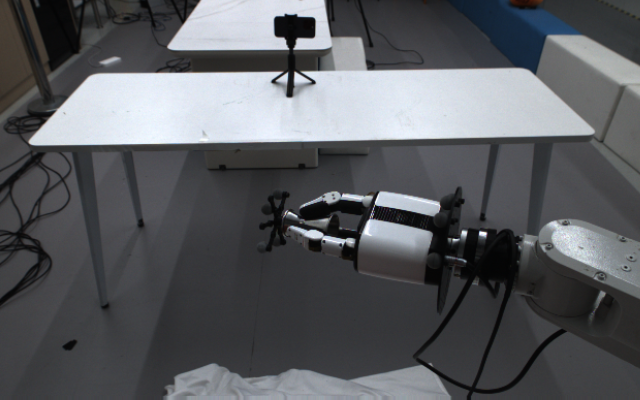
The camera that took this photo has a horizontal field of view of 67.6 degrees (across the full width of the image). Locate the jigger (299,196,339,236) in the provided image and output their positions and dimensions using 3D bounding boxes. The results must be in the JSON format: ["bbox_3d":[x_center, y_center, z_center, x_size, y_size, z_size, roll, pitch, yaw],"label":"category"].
[{"bbox_3d":[-0.007,0.032,0.655,0.071,0.043,0.043,8,34,23],"label":"jigger"}]
